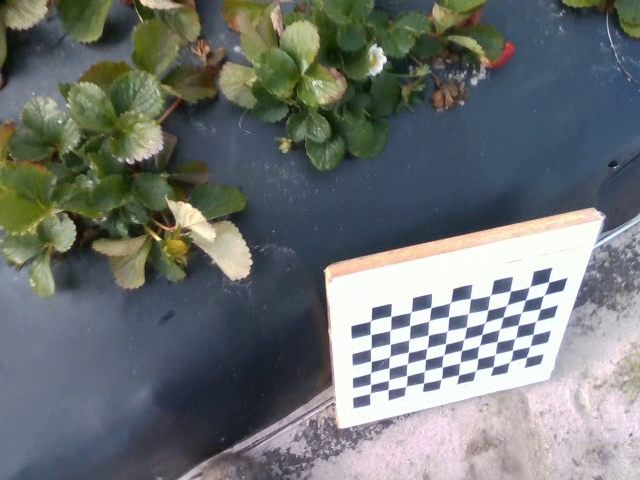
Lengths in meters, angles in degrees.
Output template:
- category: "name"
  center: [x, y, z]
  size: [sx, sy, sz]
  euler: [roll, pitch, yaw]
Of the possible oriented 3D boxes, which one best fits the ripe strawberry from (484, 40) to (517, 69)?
- category: "ripe strawberry"
  center: [0.112, -0.122, 0.498]
  size: [0.027, 0.021, 0.021]
  euler: [-21, -31, 16]
